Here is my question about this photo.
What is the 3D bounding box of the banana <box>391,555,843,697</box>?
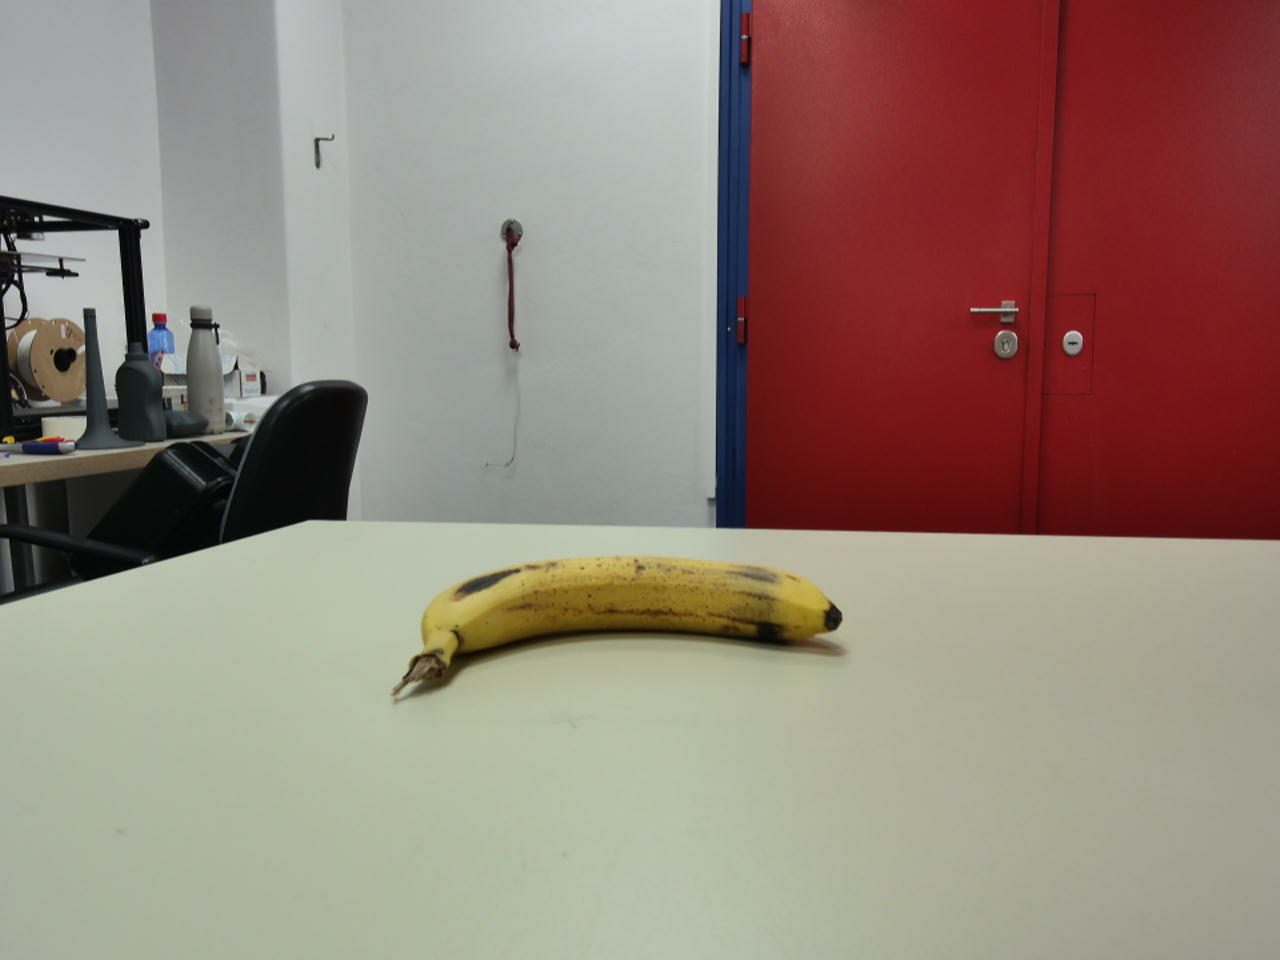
[{"bbox_3d":[-0.012,0.058,0.452,0.186,0.038,0.097,-1,4,-15],"label":"banana"}]
